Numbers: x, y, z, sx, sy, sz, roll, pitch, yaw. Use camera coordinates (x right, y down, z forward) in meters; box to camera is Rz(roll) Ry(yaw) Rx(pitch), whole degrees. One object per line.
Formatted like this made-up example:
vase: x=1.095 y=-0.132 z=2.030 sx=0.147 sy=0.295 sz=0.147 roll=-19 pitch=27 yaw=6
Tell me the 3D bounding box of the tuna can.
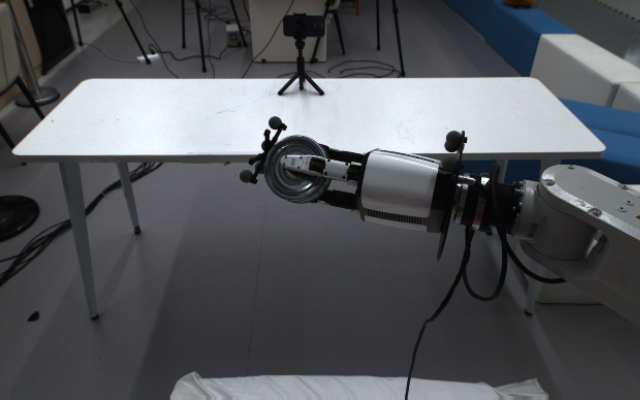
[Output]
tuna can: x=-0.025 y=-0.036 z=0.622 sx=0.085 sy=0.085 sz=0.034 roll=9 pitch=-4 yaw=10
